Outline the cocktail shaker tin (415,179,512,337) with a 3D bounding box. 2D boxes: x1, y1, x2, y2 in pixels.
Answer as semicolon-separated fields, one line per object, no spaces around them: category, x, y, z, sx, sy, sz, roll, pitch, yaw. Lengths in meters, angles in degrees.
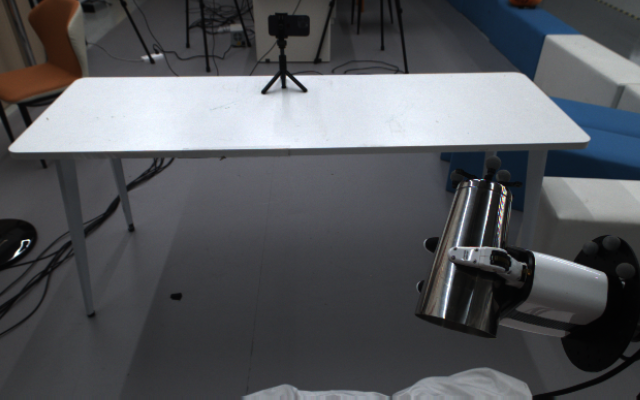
cocktail shaker tin;0.177;0.065;0.572;0.093;0.093;0.170;14;73;16
